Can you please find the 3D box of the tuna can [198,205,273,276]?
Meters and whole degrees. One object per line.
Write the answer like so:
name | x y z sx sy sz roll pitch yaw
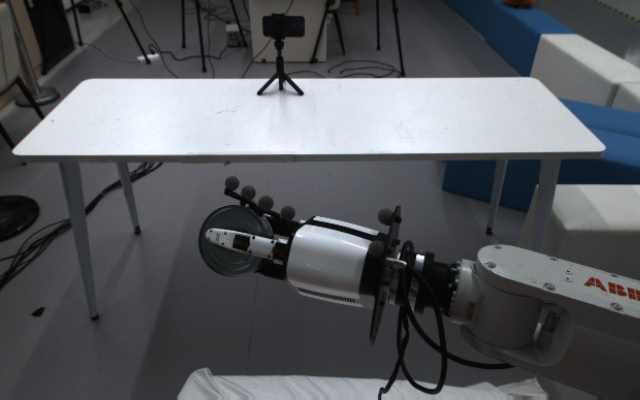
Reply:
tuna can | -0.098 0.050 0.586 0.085 0.085 0.034 10 -4 11
